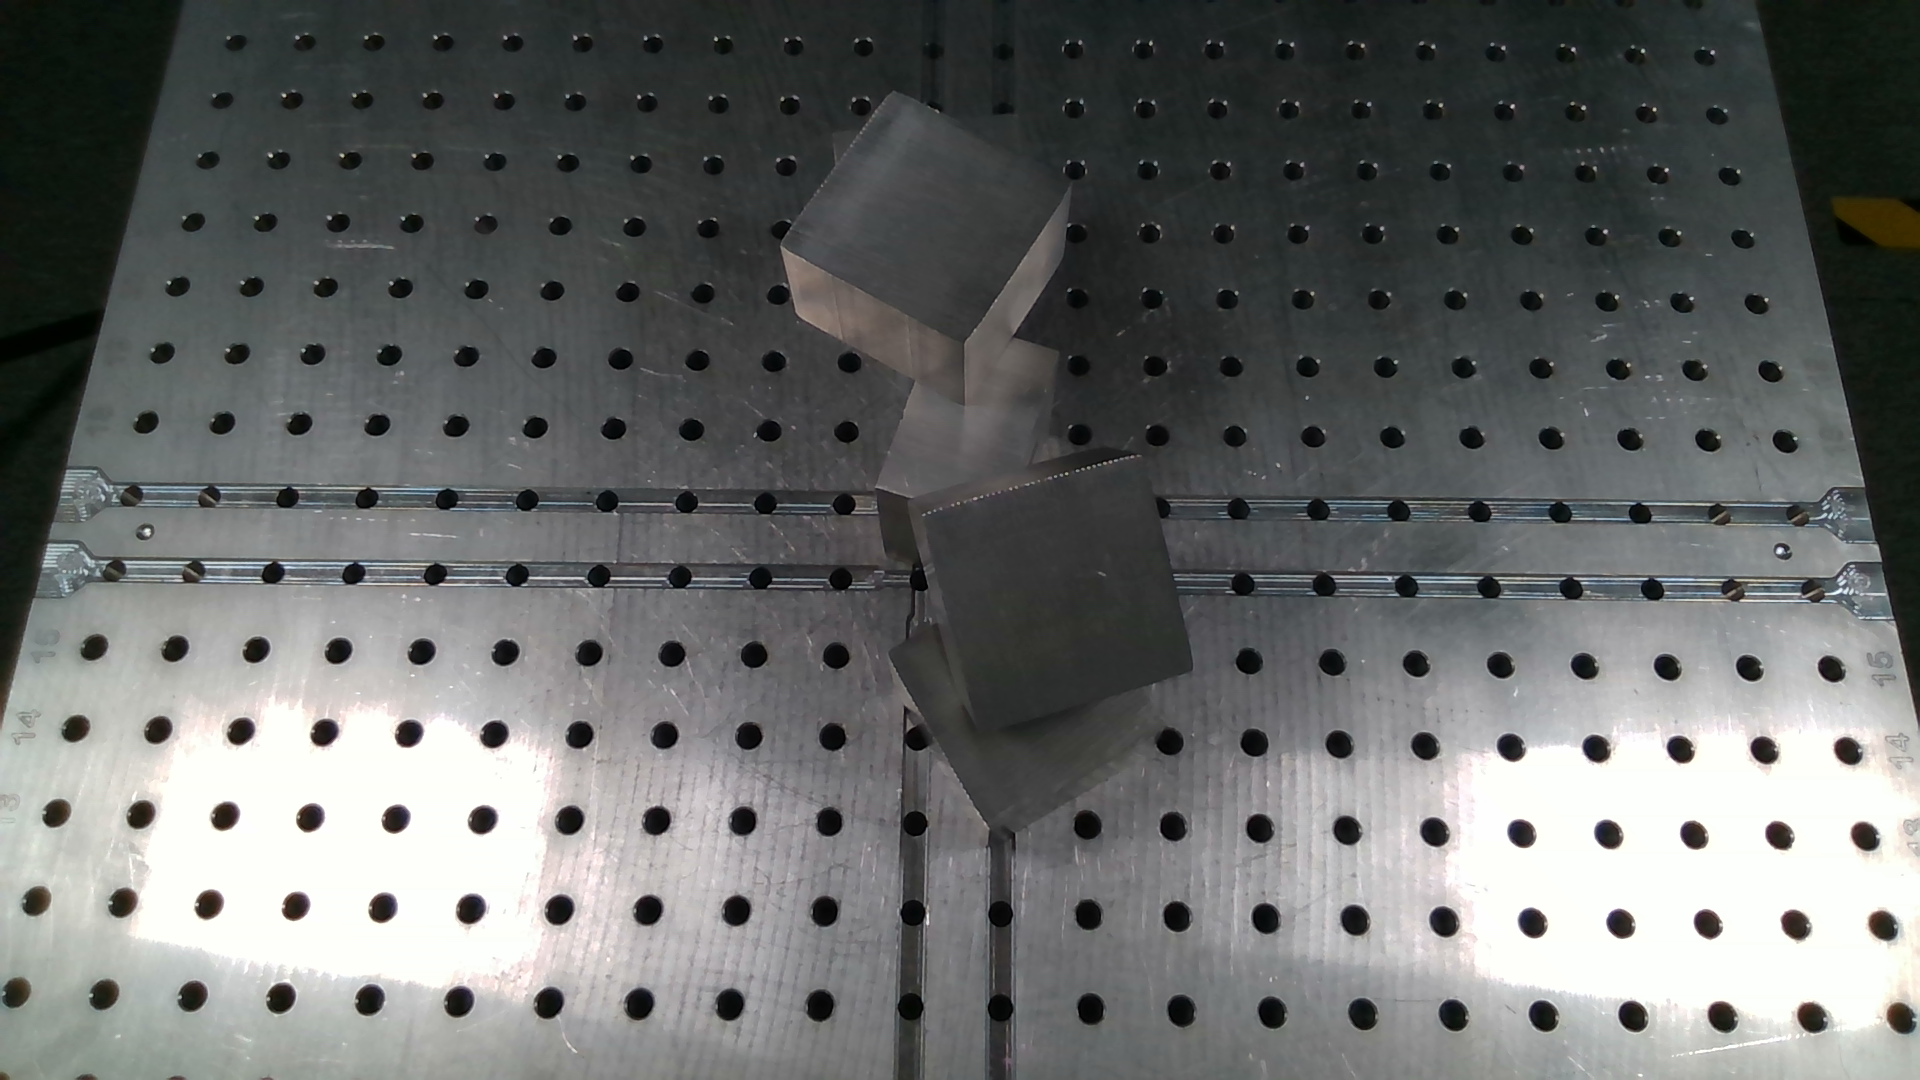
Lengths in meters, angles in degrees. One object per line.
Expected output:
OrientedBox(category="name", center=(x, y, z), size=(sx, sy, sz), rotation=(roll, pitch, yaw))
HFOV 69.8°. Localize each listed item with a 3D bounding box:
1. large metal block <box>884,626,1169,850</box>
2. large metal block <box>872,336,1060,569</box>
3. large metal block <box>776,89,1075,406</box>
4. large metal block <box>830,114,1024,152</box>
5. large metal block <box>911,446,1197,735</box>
OrientedBox(category="large metal block", center=(0.025, 0.066, 0.554), size=(0.080, 0.050, 0.080), rotation=(-29, 73, -10))
OrientedBox(category="large metal block", center=(0.003, -0.034, 0.573), size=(0.050, 0.080, 0.080), rotation=(18, 71, 6))
OrientedBox(category="large metal block", center=(-0.012, -0.112, 0.531), size=(0.080, 0.050, 0.080), rotation=(30, 72, 10))
OrientedBox(category="large metal block", center=(-0.012, -0.139, 0.611), size=(0.080, 0.080, 0.050), rotation=(-6, 70, -2))
OrientedBox(category="large metal block", center=(0.032, 0.016, 0.499), size=(0.080, 0.050, 0.080), rotation=(-15, 100, -5))
